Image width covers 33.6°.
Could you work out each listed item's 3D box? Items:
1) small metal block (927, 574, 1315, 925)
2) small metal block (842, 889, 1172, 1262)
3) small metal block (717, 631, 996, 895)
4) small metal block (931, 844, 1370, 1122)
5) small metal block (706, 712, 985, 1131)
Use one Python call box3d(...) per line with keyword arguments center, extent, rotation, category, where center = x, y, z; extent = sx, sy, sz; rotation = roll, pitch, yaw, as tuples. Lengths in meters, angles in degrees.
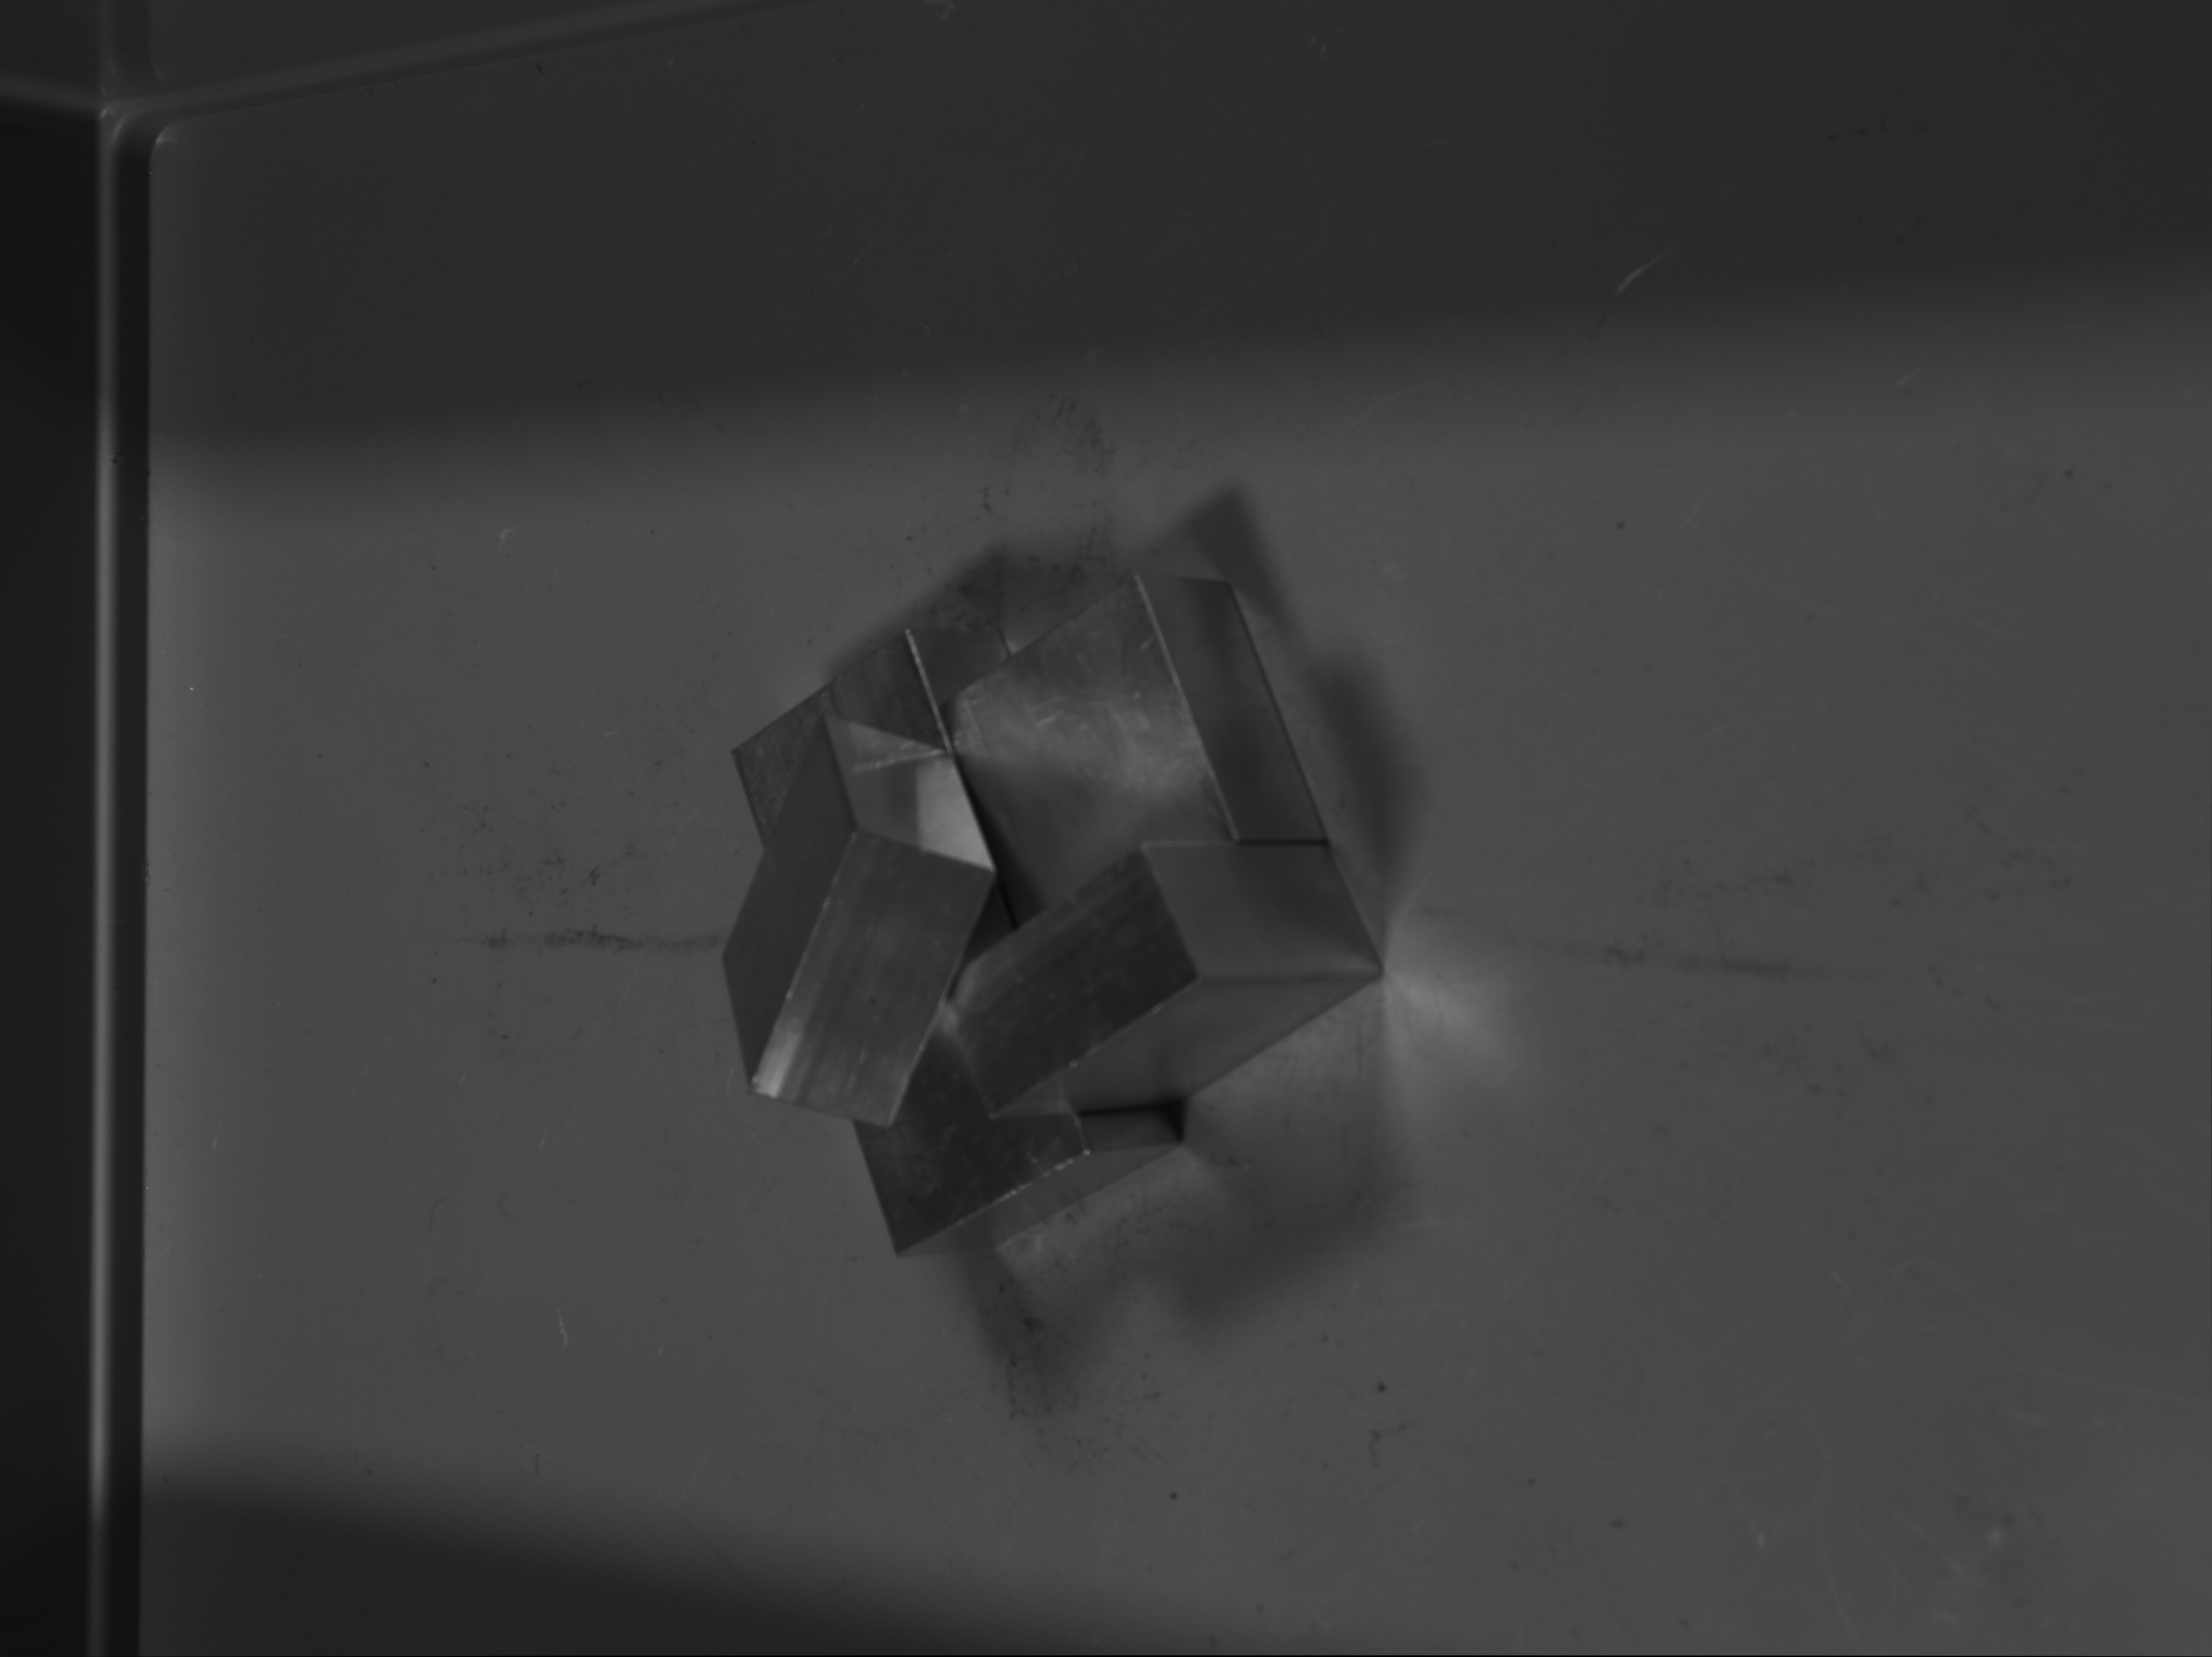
box3d(center=(0.002, -0.010, 0.633), extent=(0.050, 0.025, 0.050), rotation=(-31, 71, 35), category="small metal block")
box3d(center=(-0.022, 0.044, 0.653), extent=(0.050, 0.025, 0.050), rotation=(-31, 71, 35), category="small metal block")
box3d(center=(-0.038, -0.002, 0.667), extent=(0.050, 0.025, 0.050), rotation=(-31, 71, 35), category="small metal block")
box3d(center=(0.007, 0.026, 0.613), extent=(0.050, 0.050, 0.025), rotation=(-35, 69, 33), category="small metal block")
box3d(center=(-0.045, 0.015, 0.624), extent=(0.050, 0.025, 0.050), rotation=(-115, 46, -63), category="small metal block")
